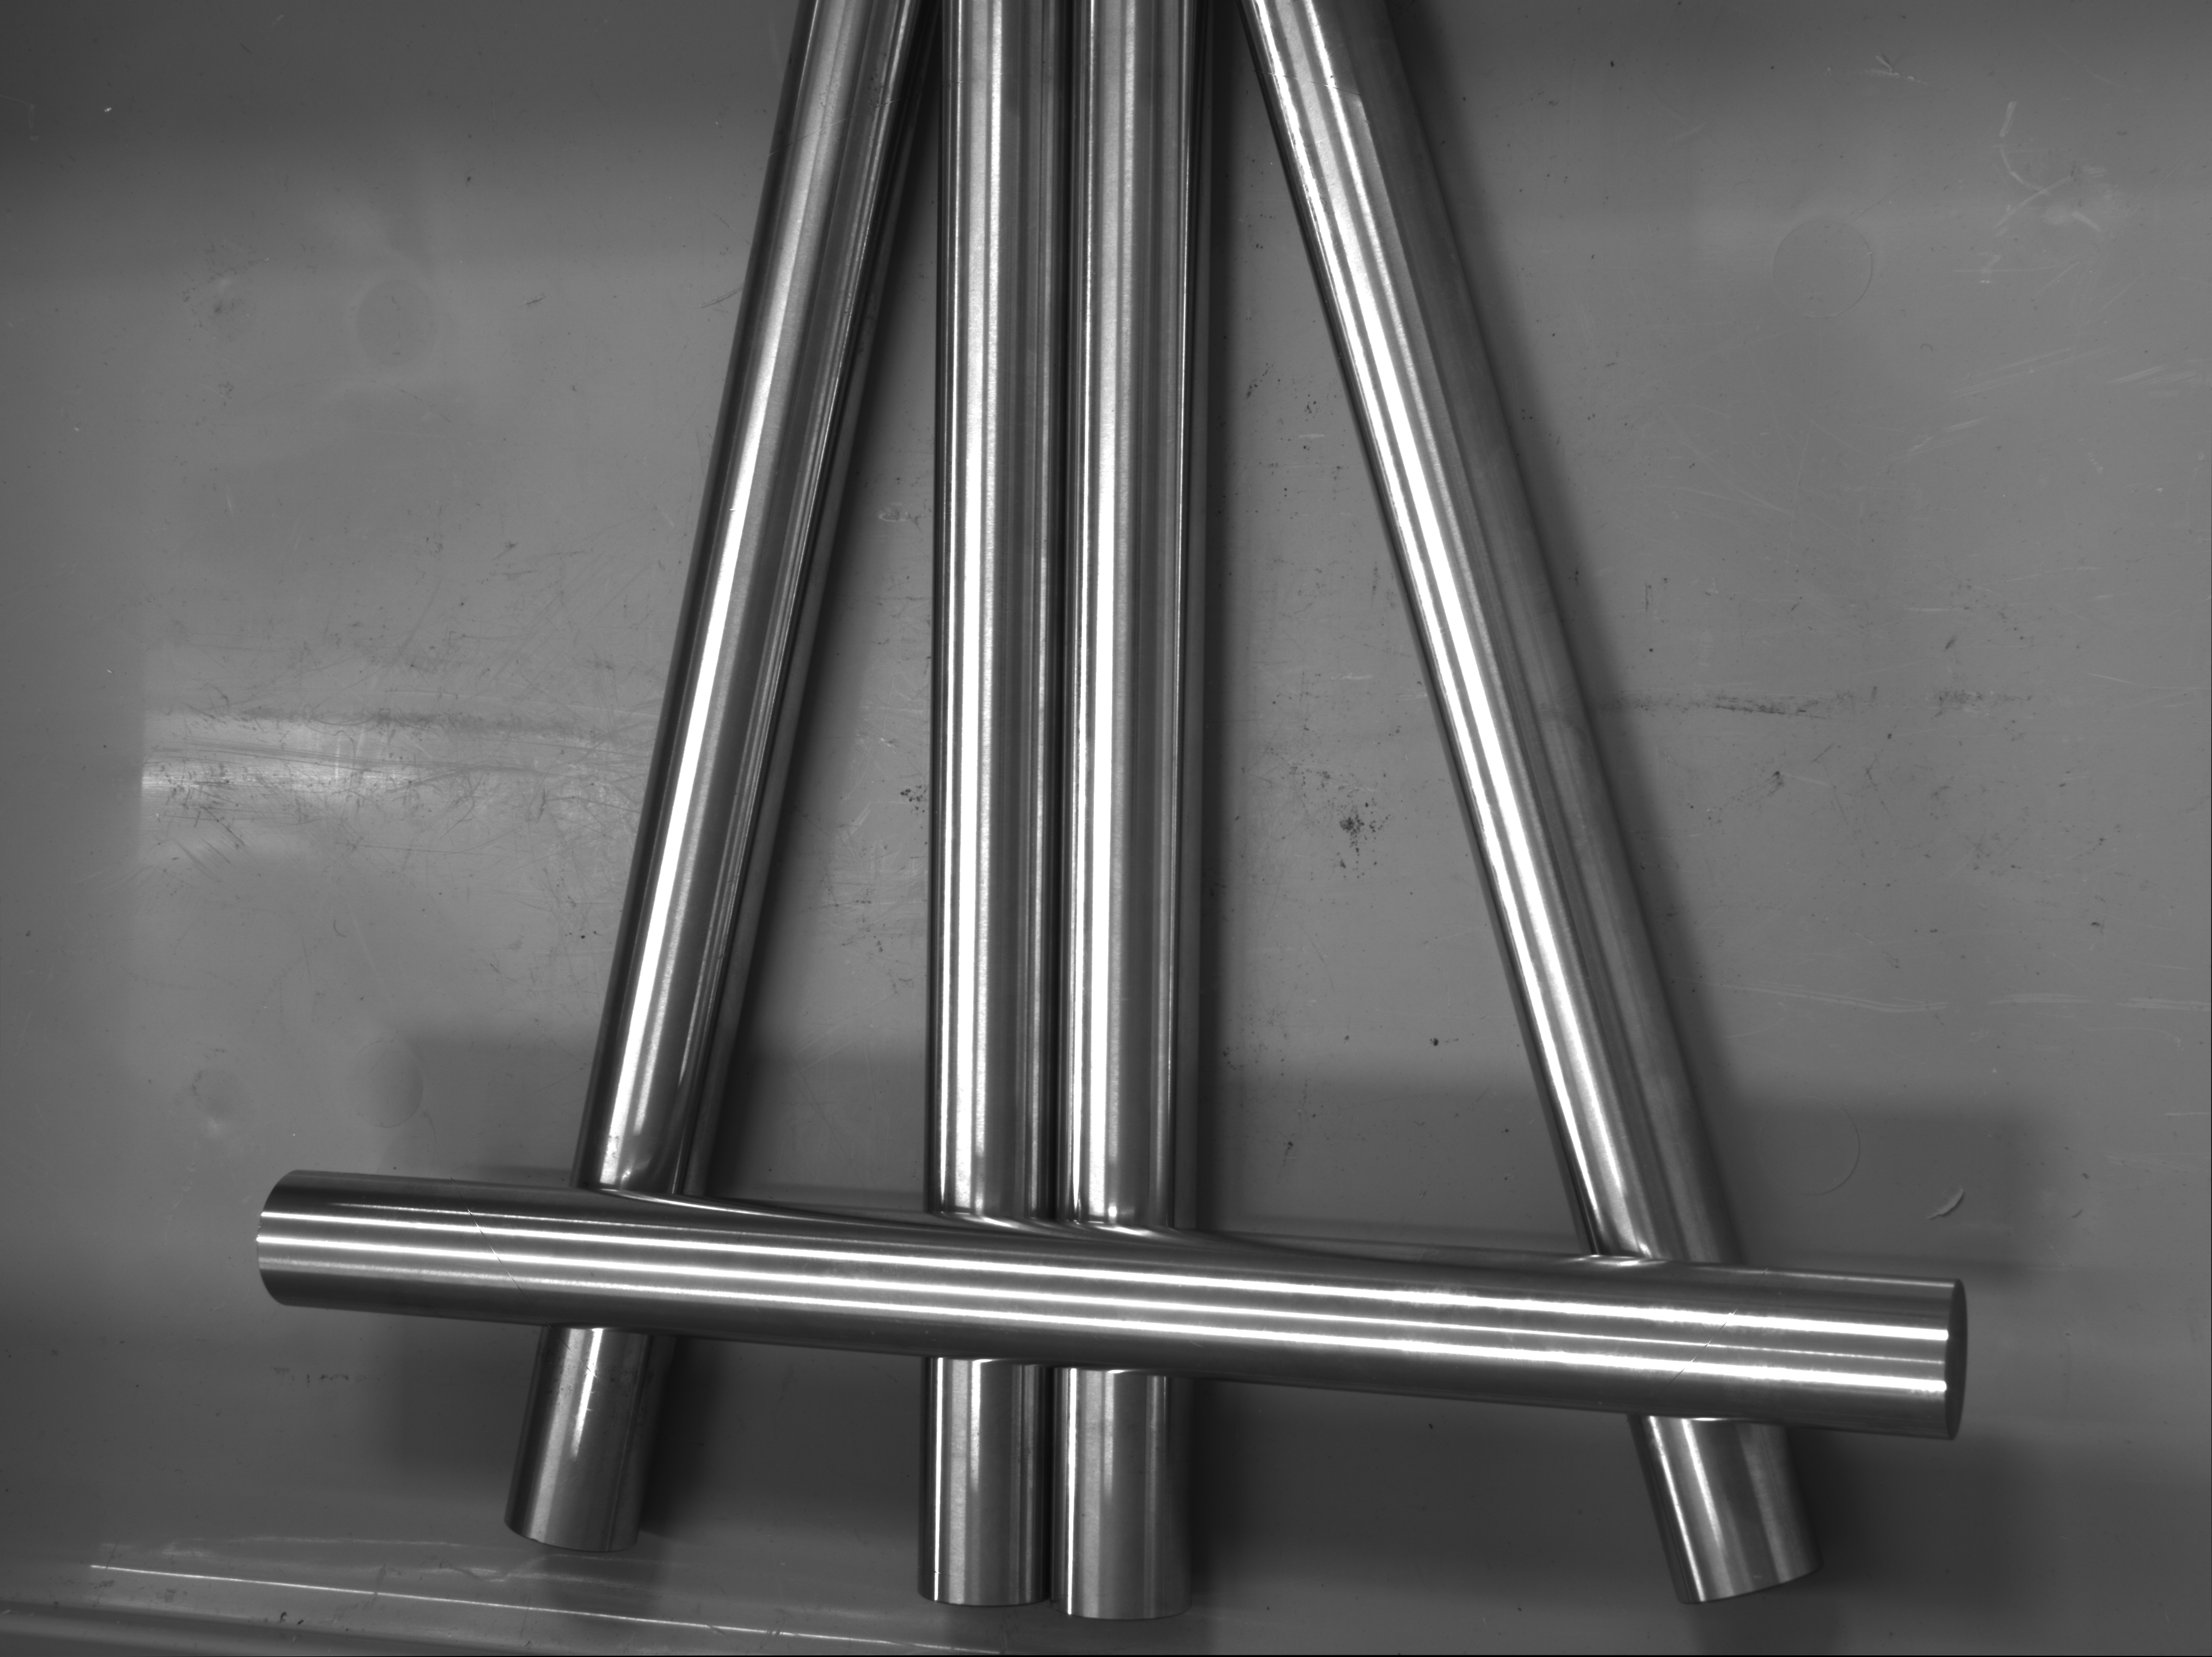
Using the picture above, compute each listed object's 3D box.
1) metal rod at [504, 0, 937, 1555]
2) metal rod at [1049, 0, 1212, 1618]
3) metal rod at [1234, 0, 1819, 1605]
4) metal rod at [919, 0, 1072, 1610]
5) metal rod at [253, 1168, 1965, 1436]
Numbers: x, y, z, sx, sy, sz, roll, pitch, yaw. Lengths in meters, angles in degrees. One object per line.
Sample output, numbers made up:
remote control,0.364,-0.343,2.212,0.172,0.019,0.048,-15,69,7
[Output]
metal rod,-0.070,-0.016,0.671,0.025,0.025,0.300,13,94,20
metal rod,0.004,-0.014,0.644,0.025,0.025,0.300,1,90,20
metal rod,0.068,-0.019,0.621,0.025,0.025,0.300,-17,84,19
metal rod,-0.018,-0.014,0.652,0.025,0.025,0.300,1,90,20
metal rod,-0.009,0.078,0.621,0.299,0.025,0.025,1,90,20
